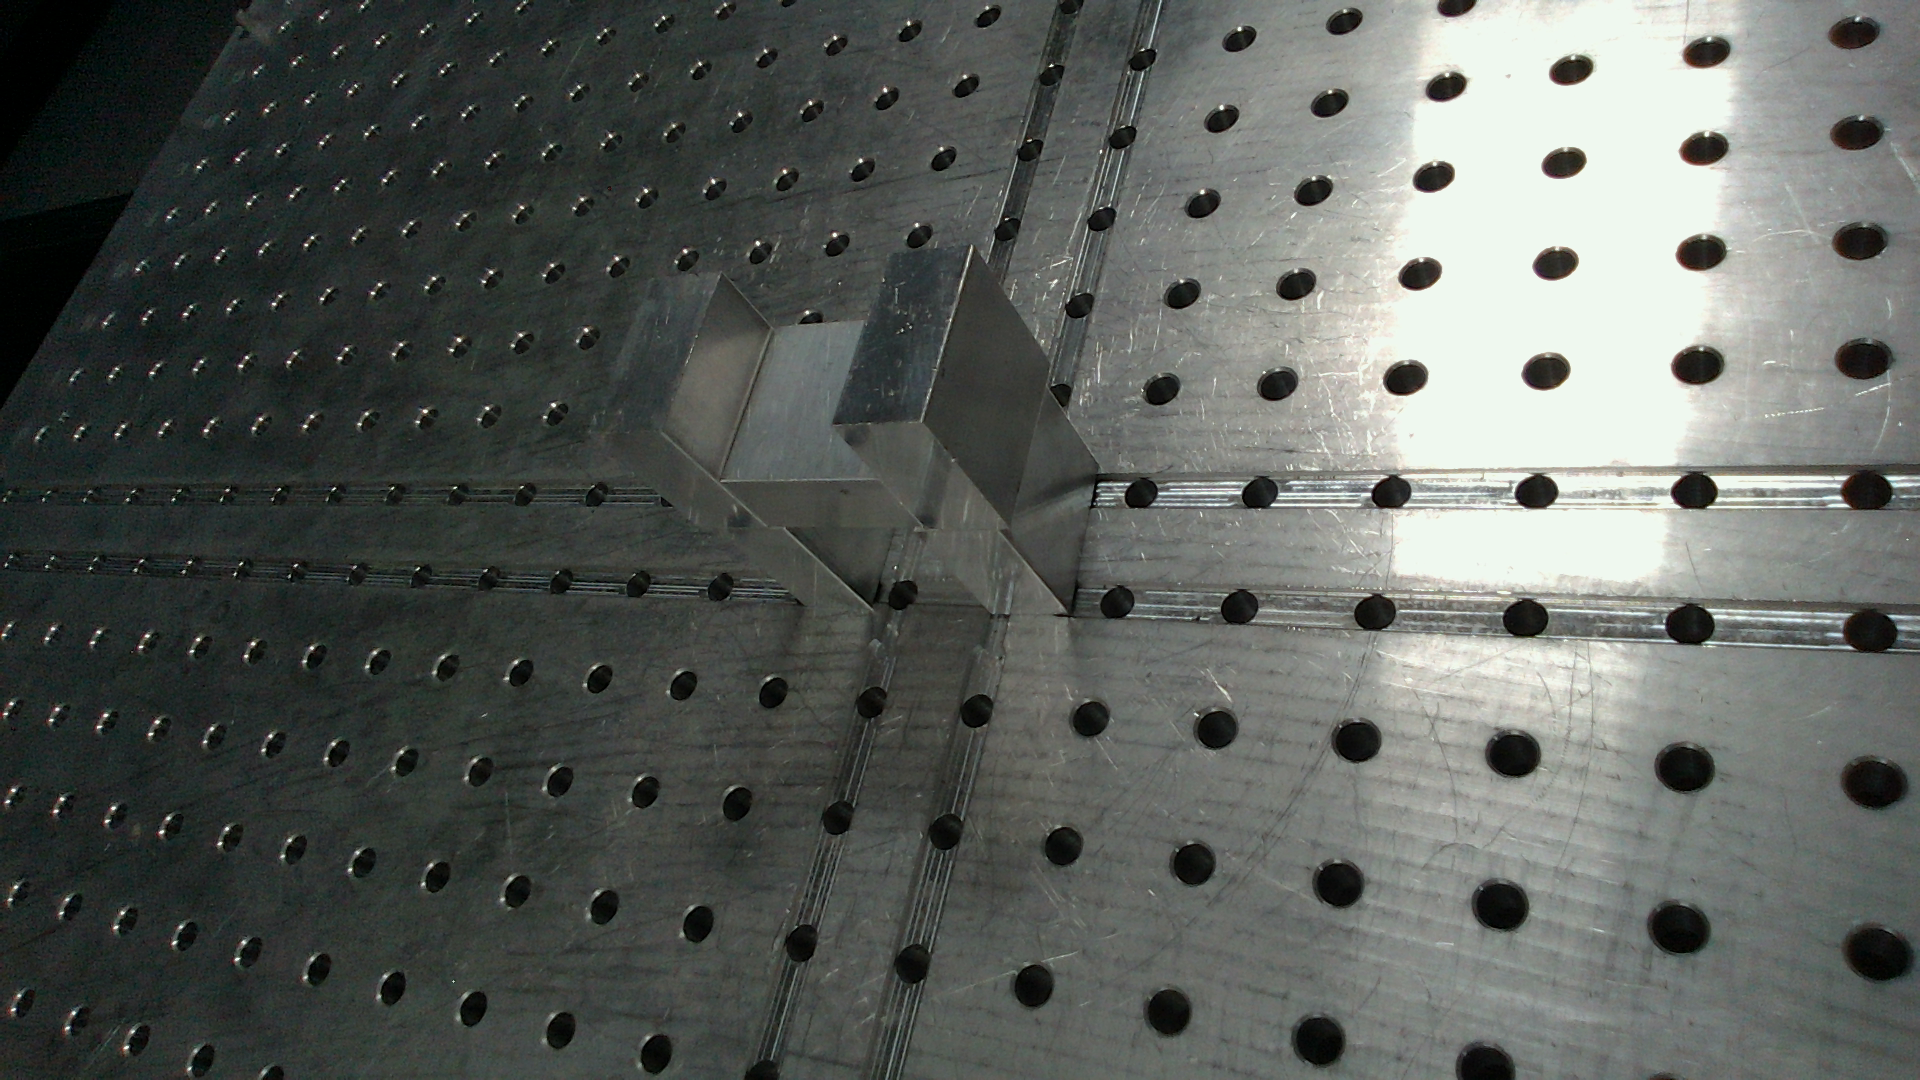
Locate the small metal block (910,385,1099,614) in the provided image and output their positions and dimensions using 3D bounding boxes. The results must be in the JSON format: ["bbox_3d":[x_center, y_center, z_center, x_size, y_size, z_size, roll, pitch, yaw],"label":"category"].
[{"bbox_3d":[0.014,-0.013,0.381,0.025,0.050,0.050,-1,61,28],"label":"small metal block"}]

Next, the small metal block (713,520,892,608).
[{"bbox_3d":[-0.043,-0.014,0.411,0.025,0.050,0.050,0,62,29],"label":"small metal block"}]

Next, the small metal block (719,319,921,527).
[{"bbox_3d":[-0.030,-0.031,0.369,0.050,0.025,0.050,1,62,29],"label":"small metal block"}]

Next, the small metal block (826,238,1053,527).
[{"bbox_3d":[-0.003,-0.037,0.339,0.025,0.050,0.050,0,61,29],"label":"small metal block"}]

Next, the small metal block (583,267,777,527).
[{"bbox_3d":[-0.069,-0.038,0.375,0.025,0.050,0.050,0,61,29],"label":"small metal block"}]
